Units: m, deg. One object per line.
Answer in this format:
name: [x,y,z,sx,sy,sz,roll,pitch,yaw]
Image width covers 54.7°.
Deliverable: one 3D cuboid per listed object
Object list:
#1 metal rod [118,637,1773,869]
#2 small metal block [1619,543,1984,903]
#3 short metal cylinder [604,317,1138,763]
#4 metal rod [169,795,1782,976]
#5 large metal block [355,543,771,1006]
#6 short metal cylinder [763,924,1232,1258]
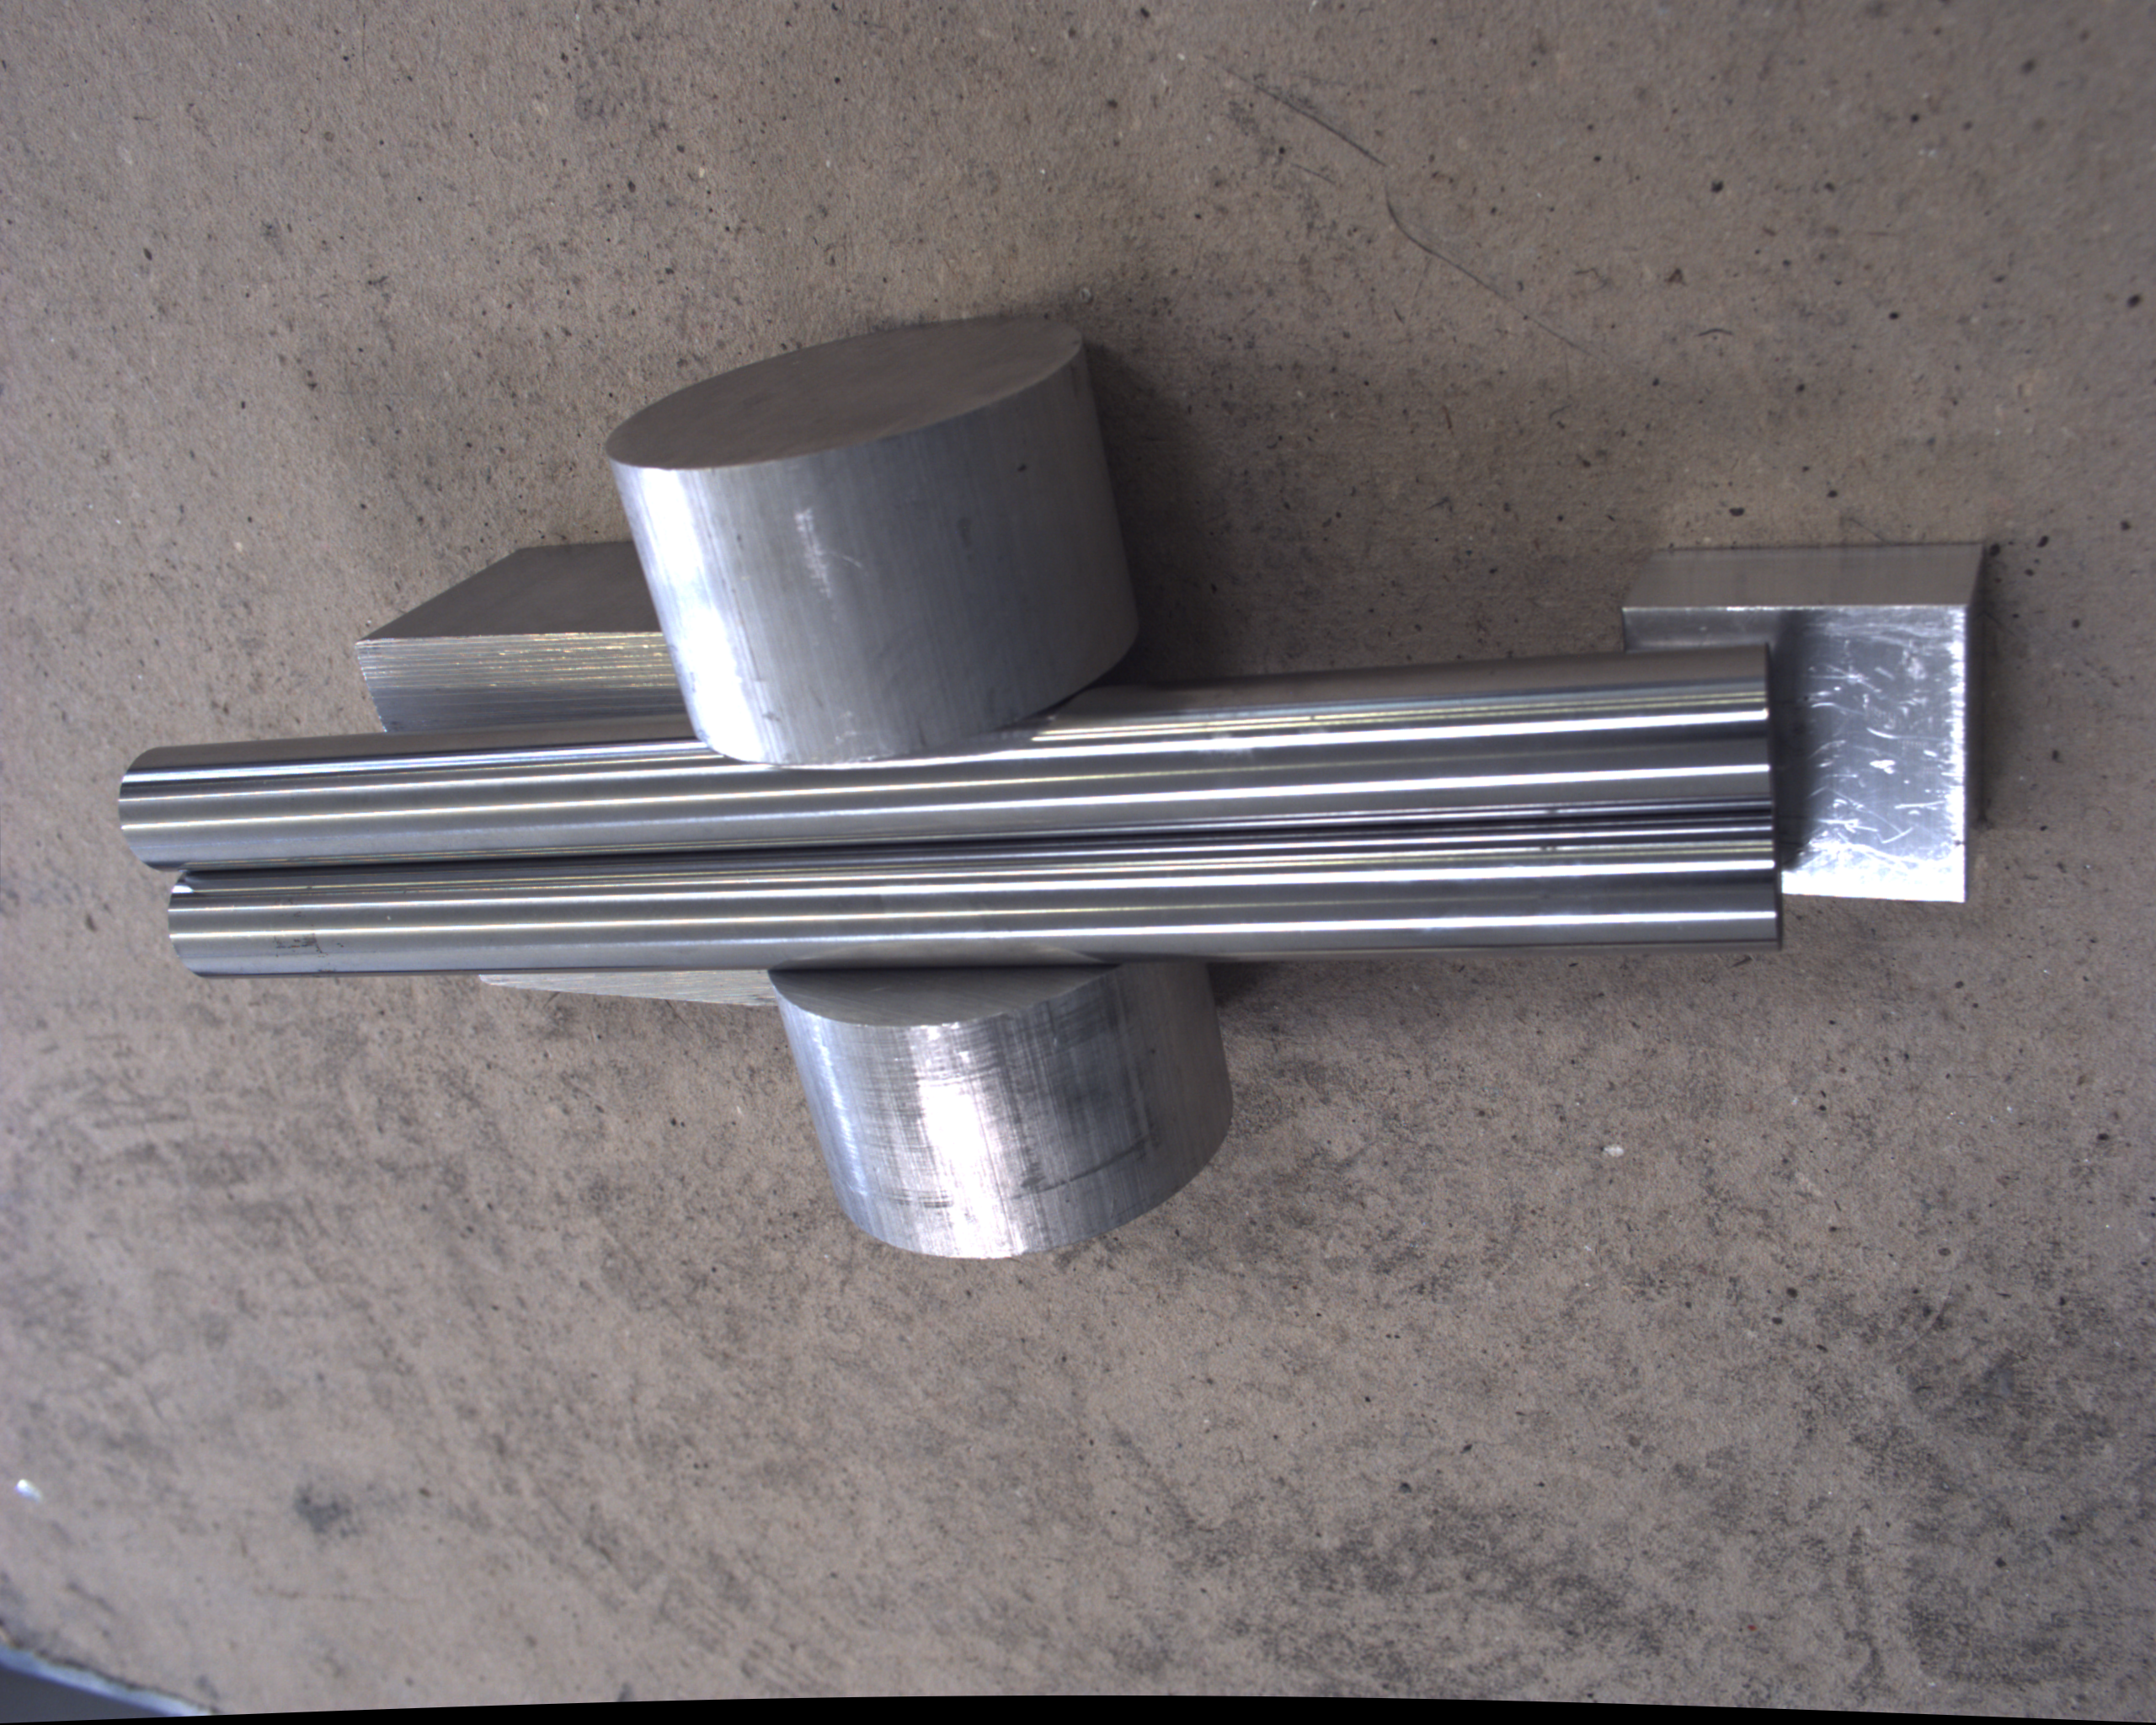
metal rod: [-0.039,-0.016,0.361,0.301,0.025,0.025,-2,118,20]
small metal block: [0.116,-0.023,0.333,0.050,0.025,0.050,3,120,27]
short metal cylinder: [-0.034,-0.057,0.355,0.080,0.080,0.050,2,119,27]
metal rod: [-0.034,0.006,0.372,0.301,0.025,0.025,-2,118,20]
large metal block: [-0.087,-0.019,0.427,0.080,0.050,0.080,2,119,27]
short metal cylinder: [-0.014,0.031,0.399,0.080,0.080,0.050,2,119,27]
